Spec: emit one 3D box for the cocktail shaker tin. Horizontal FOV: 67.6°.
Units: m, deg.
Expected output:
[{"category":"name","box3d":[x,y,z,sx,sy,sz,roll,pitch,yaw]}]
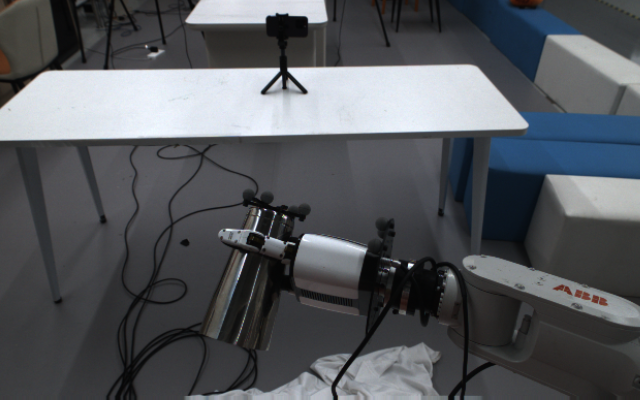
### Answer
[{"category":"cocktail shaker tin","box3d":[-0.085,0.098,0.636,0.093,0.093,0.170,13,77,15]}]
